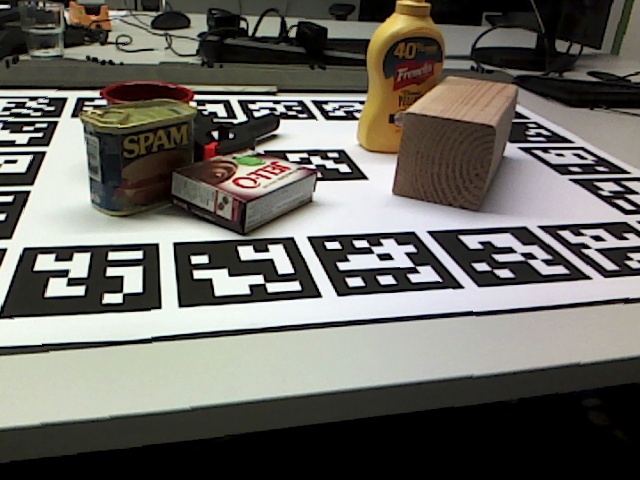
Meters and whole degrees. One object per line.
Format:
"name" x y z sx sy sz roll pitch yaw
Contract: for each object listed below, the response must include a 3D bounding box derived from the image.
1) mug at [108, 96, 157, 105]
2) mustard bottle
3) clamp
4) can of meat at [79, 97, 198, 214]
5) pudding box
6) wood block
"mug" -0.181 -0.108 0.680 0.093 0.081 0.117 9 31 5
"mustard bottle" 0.103 -0.207 0.747 0.096 0.191 0.059 -5 31 -18
"clamp" -0.111 -0.127 0.735 0.122 0.036 0.165 9 31 2
"can of meat" -0.165 -0.079 0.572 0.101 0.083 0.058 -21 40 -40
"pudding box" -0.067 -0.048 0.591 0.090 0.038 0.113 24 32 29
"wood block" 0.162 -0.109 0.696 0.090 0.091 0.206 15 28 19
